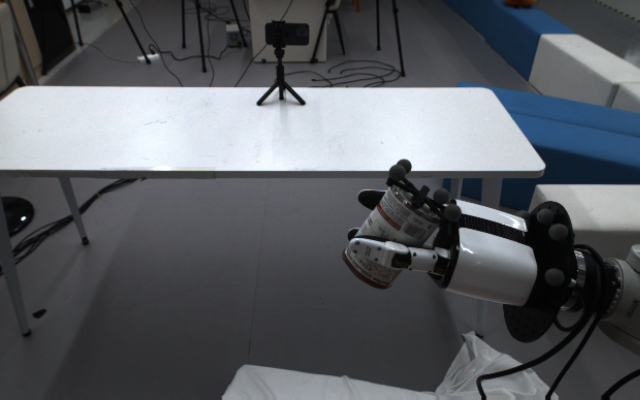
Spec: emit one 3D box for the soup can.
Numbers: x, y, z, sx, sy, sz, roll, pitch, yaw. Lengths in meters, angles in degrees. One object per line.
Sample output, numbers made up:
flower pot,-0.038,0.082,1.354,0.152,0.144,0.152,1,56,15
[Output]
soup can,0.082,0.039,0.539,0.067,0.101,0.067,28,22,-12
